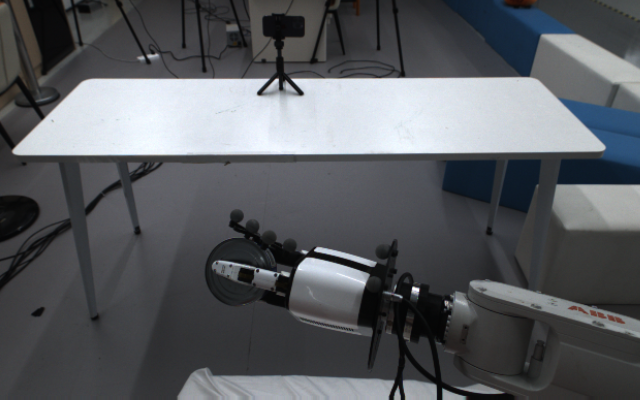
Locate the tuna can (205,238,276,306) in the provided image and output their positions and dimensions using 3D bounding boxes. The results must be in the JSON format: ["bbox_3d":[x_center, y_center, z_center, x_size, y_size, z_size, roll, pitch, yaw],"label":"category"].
[{"bbox_3d":[-0.098,0.091,0.615,0.085,0.085,0.034,9,-4,10],"label":"tuna can"}]
